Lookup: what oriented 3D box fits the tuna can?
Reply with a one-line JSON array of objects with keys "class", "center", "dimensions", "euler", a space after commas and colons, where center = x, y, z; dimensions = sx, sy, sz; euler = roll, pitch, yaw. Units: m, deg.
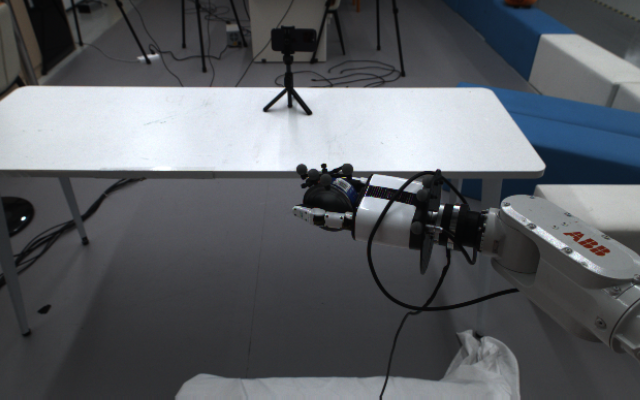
[{"class": "tuna can", "center": [0.020, 0.004, 0.762], "dimensions": [0.085, 0.085, 0.034], "euler": [17, 36, 20]}]
